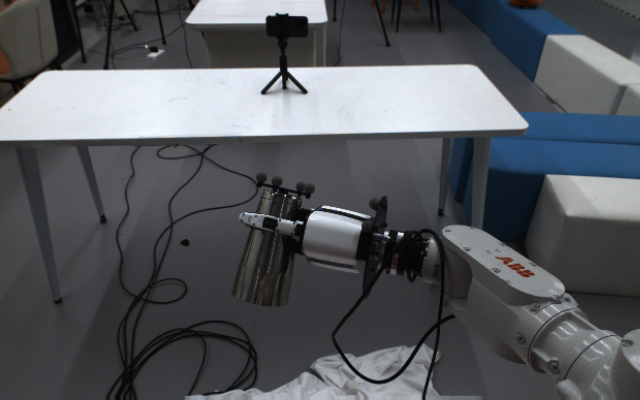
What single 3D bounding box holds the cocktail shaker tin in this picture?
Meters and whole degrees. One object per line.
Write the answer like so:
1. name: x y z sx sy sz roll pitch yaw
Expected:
1. cocktail shaker tin: -0.076 0.071 0.773 0.093 0.170 0.093 13 1 0
